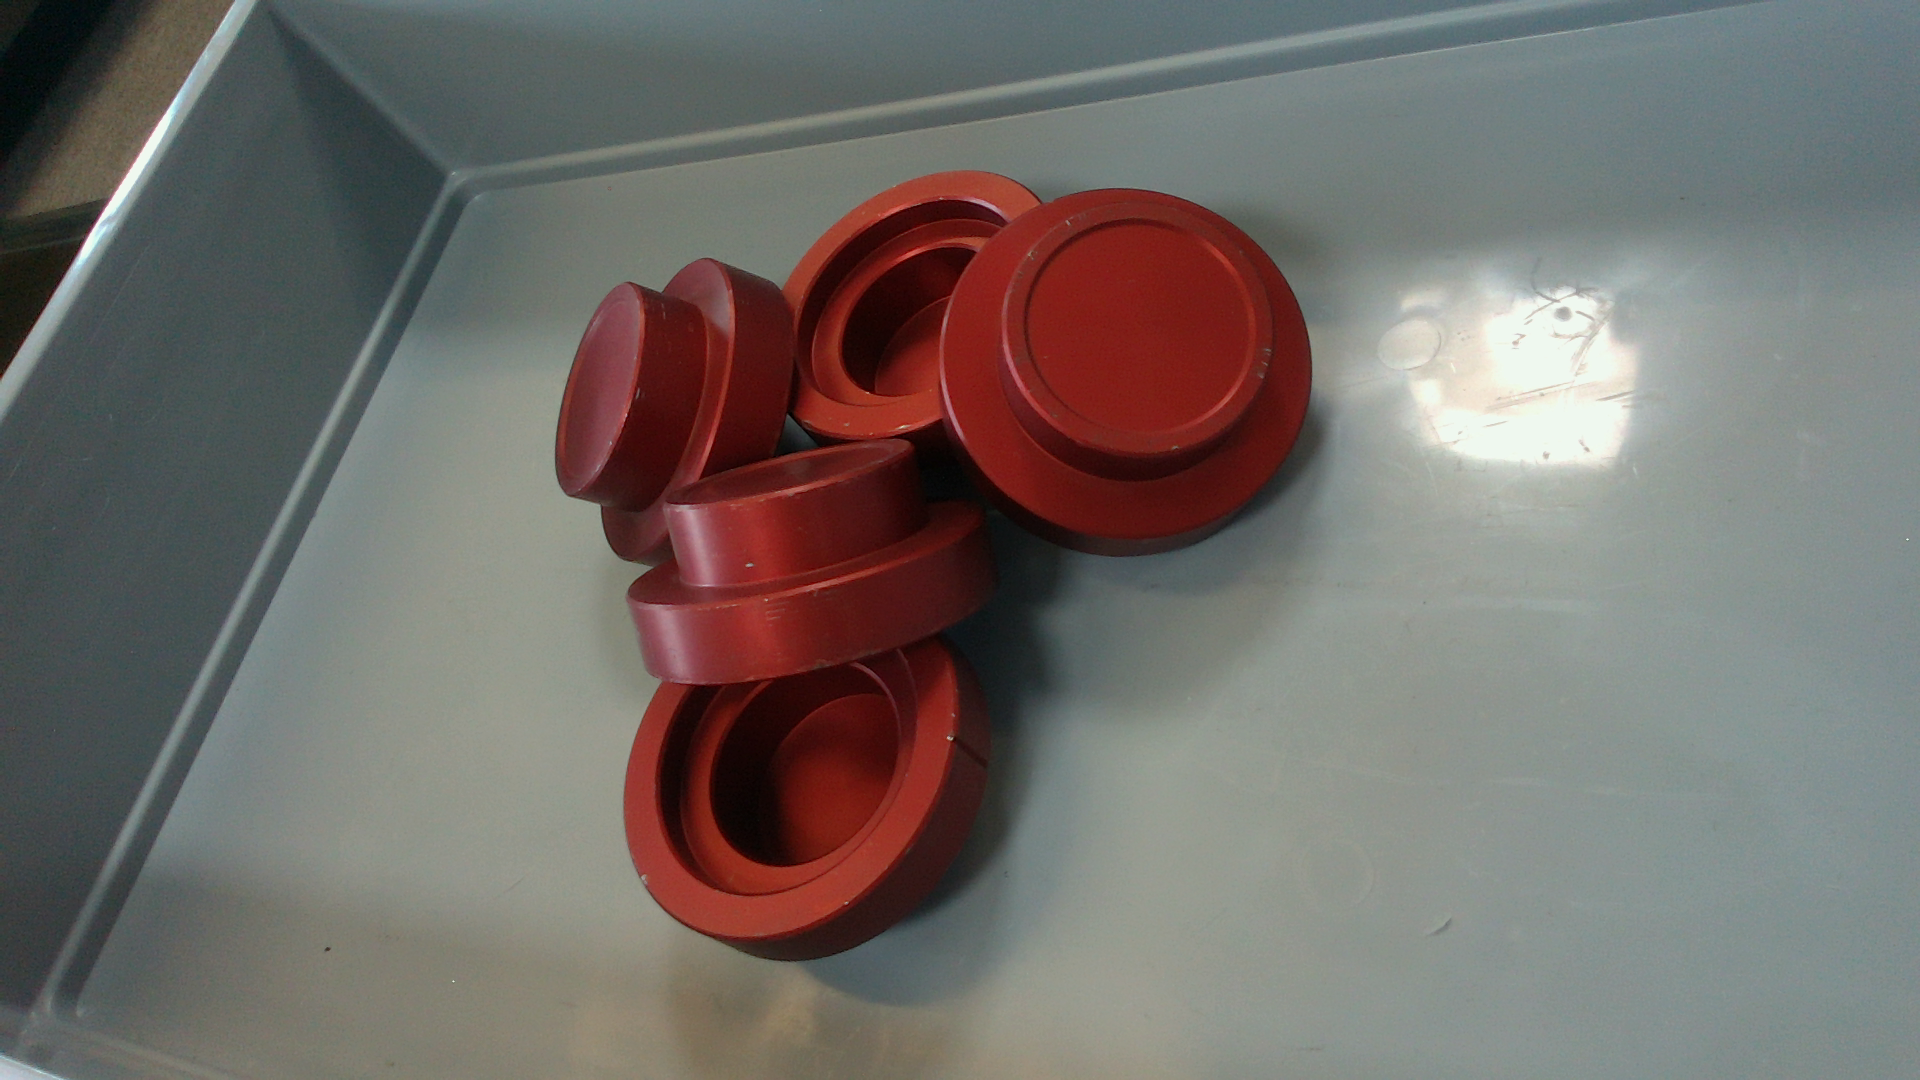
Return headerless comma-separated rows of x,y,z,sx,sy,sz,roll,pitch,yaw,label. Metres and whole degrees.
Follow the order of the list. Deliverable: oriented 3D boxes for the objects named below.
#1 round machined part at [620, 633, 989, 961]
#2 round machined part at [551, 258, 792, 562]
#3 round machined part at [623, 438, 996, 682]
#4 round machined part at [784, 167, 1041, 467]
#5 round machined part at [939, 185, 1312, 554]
-0.037,0.061,0.362,0.098,0.042,0.098,-13,56,21,round machined part
-0.095,-0.042,0.430,0.098,0.042,0.098,-30,52,48,round machined part
-0.042,0.001,0.366,0.098,0.098,0.042,-6,103,25,round machined part
-0.008,-0.063,0.423,0.098,0.042,0.098,-13,56,21,round machined part
0.043,-0.049,0.359,0.098,0.042,0.098,1,76,-2,round machined part
